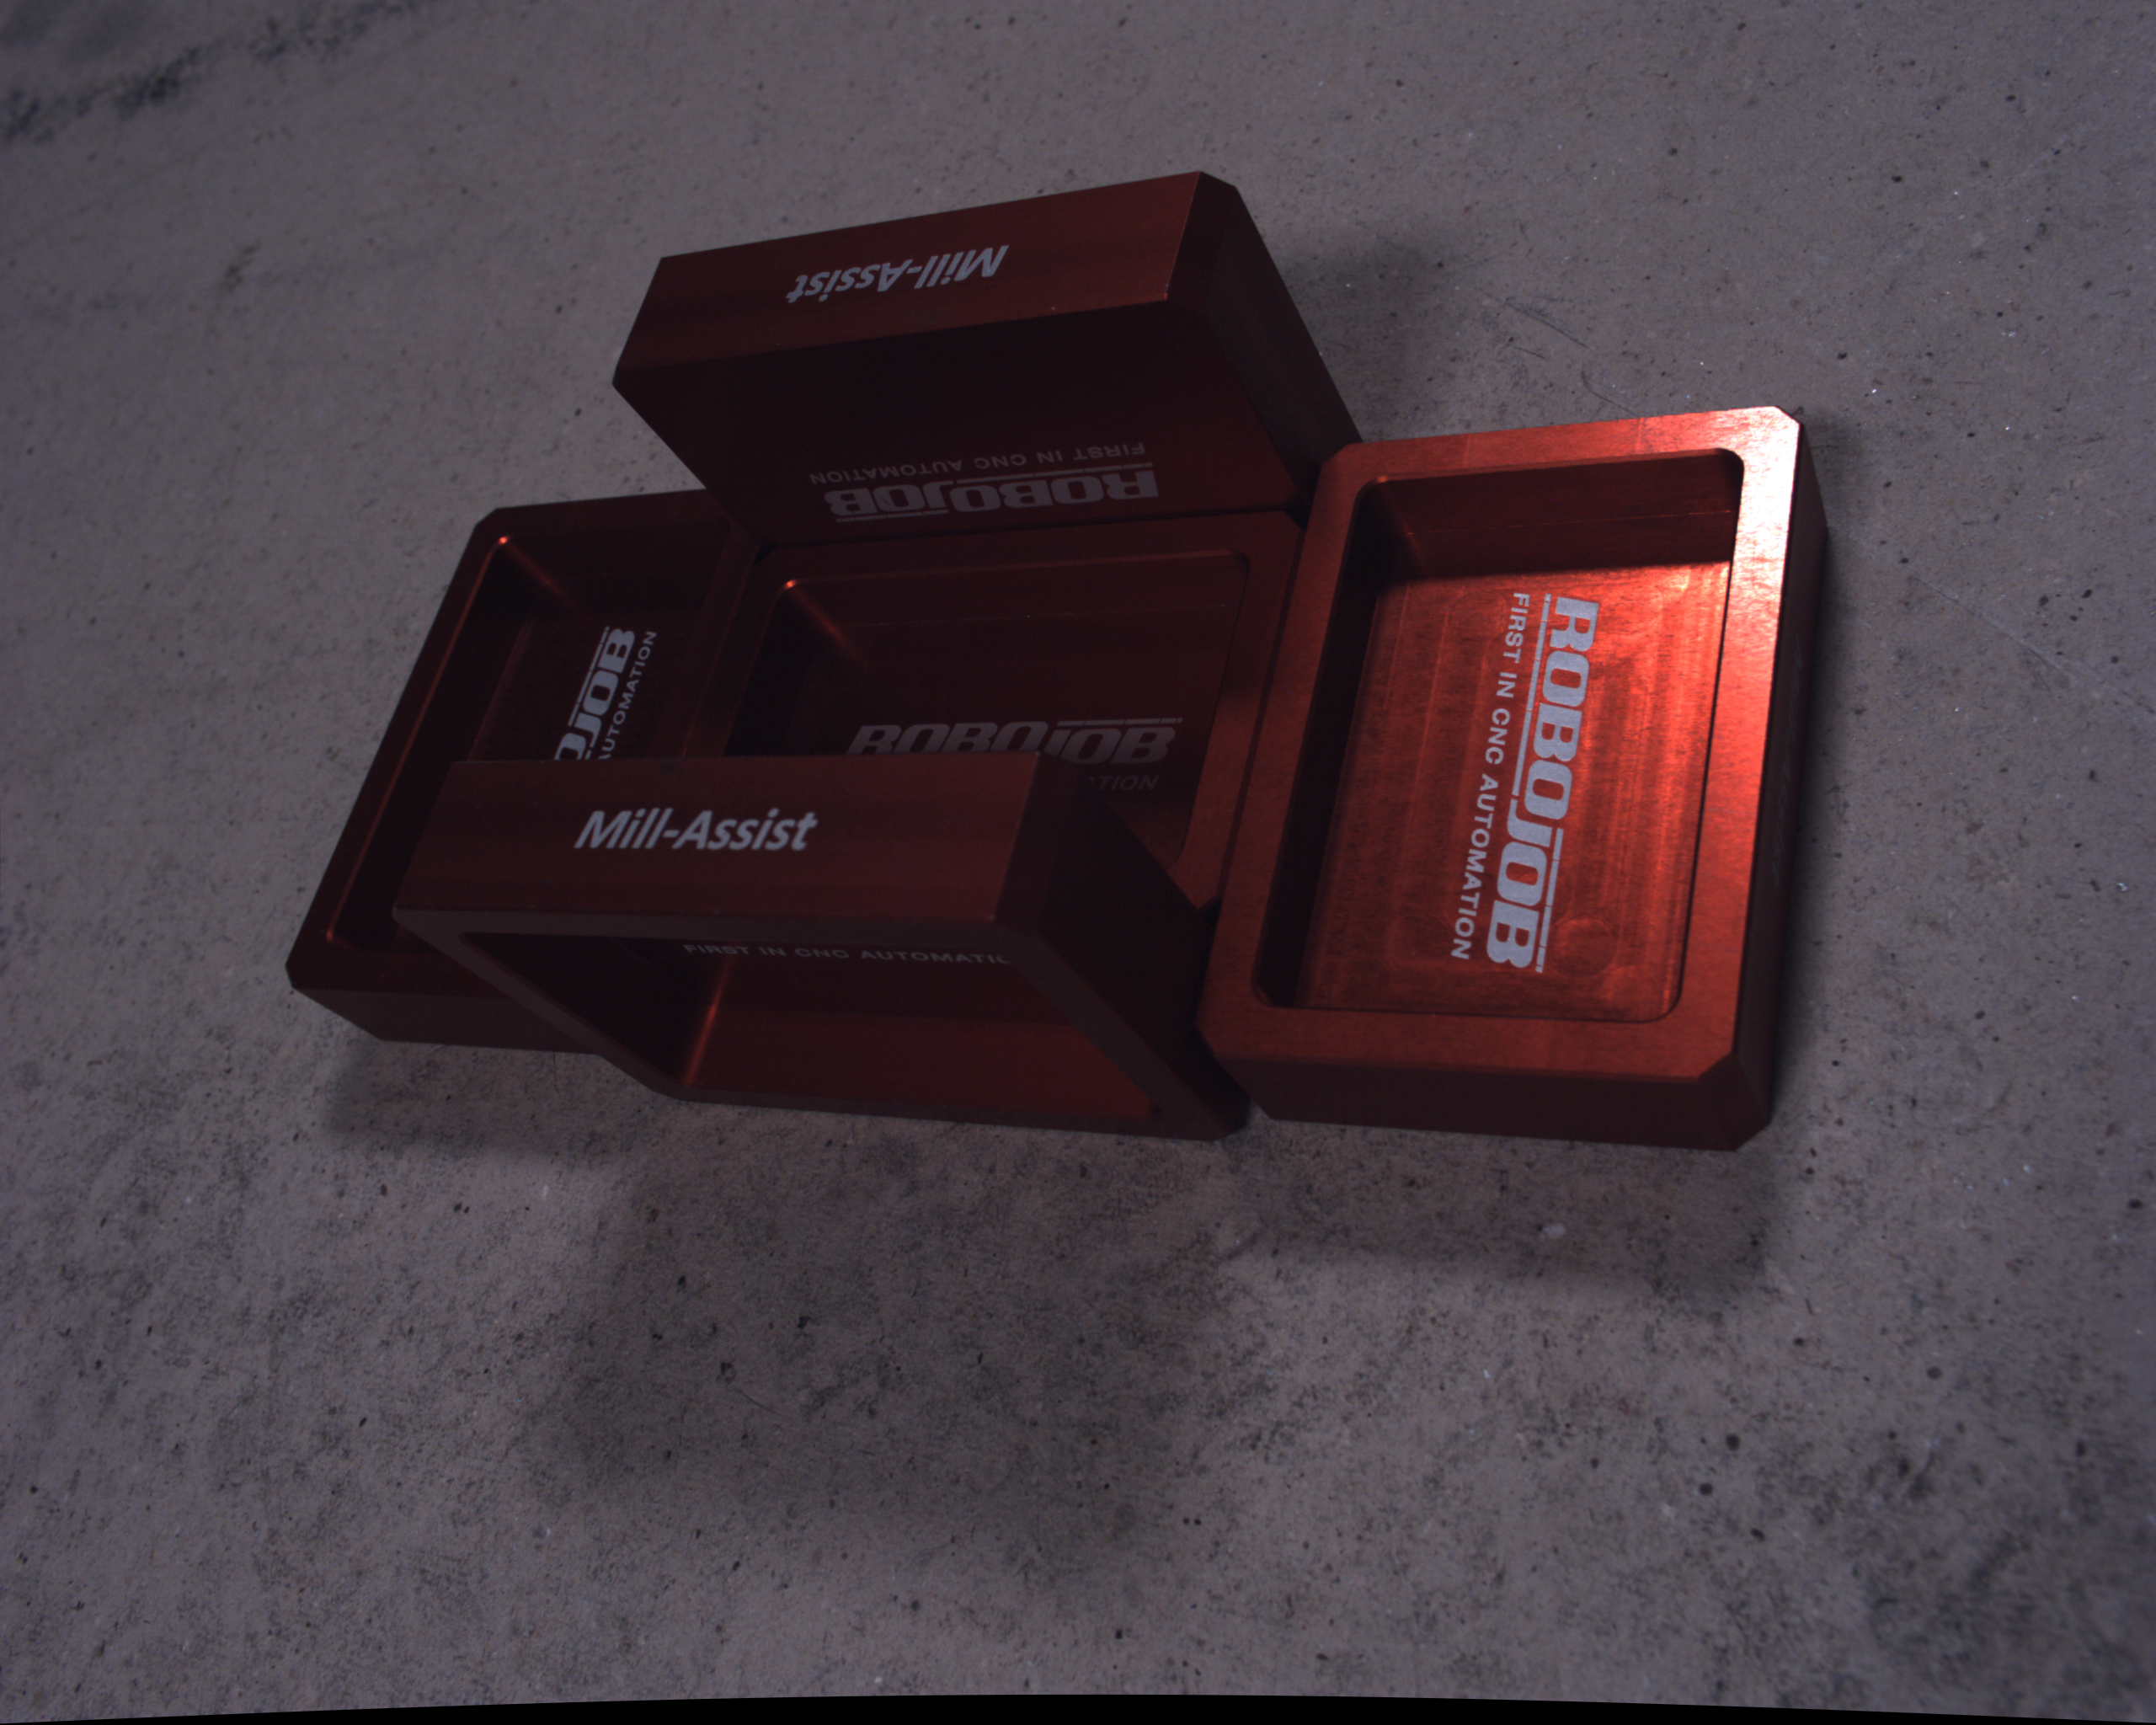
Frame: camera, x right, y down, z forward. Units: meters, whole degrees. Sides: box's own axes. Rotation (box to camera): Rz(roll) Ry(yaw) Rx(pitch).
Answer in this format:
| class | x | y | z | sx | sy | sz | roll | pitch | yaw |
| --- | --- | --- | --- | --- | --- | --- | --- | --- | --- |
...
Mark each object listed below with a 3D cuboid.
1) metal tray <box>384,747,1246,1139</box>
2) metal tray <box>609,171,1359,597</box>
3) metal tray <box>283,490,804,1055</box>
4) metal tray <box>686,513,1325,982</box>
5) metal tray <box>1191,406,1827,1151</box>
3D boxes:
| class | x | y | z | sx | sy | sz | roll | pitch | yaw |
| --- | --- | --- | --- | --- | --- | --- | --- | --- | --- |
| metal tray | -0.045 | 0.016 | 0.374 | 0.130 | 0.090 | 0.030 | 0 | 62 | 28 |
| metal tray | -0.017 | -0.089 | 0.426 | 0.130 | 0.090 | 0.030 | 0 | 62 | 28 |
| metal tray | -0.116 | -0.022 | 0.474 | 0.090 | 0.030 | 0.130 | 1 | 62 | 28 |
| metal tray | -0.018 | -0.023 | 0.424 | 0.130 | 0.030 | 0.090 | 1 | 62 | 28 |
| metal tray | 0.079 | -0.017 | 0.371 | 0.090 | 0.030 | 0.130 | 1 | 62 | 28 |
